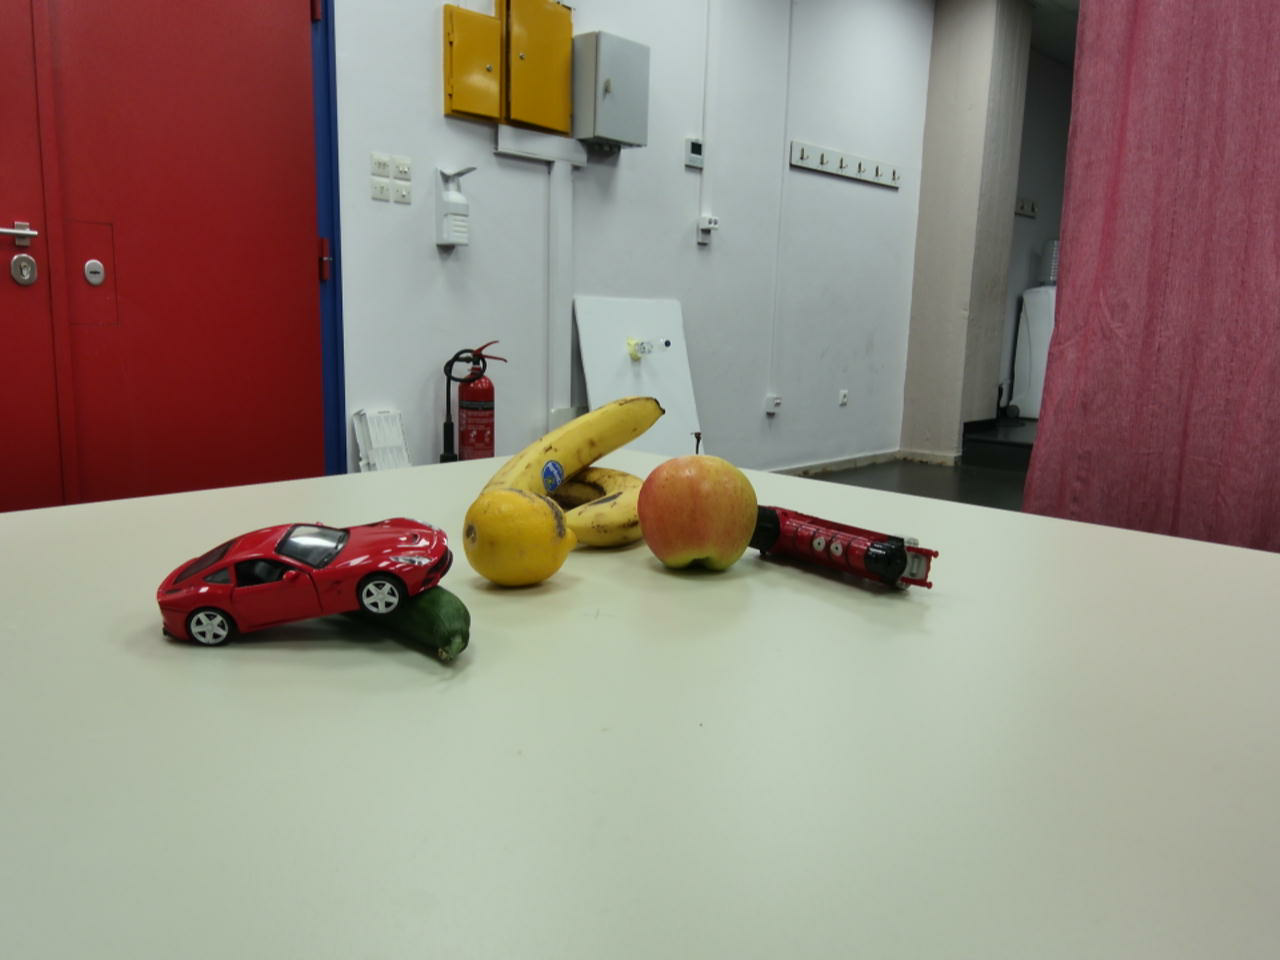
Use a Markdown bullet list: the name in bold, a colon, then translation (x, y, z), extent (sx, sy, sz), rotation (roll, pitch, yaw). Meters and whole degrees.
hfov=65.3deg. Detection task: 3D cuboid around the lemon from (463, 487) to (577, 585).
- **lemon**: translation (-0.072, 0.032, 0.577), extent (0.058, 0.056, 0.061), rotation (6, 10, 34)
